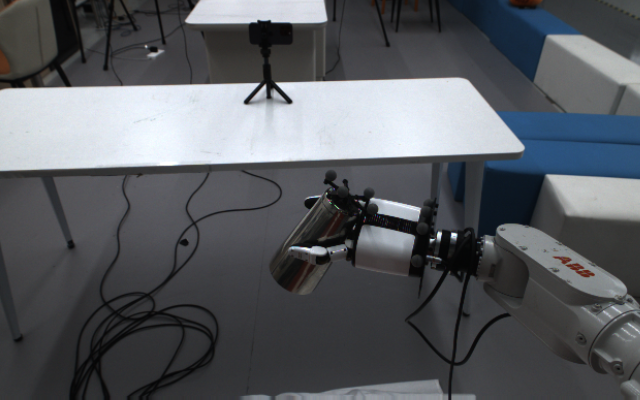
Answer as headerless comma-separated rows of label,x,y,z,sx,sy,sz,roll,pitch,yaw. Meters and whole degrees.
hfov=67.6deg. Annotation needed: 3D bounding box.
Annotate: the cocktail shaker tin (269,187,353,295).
cocktail shaker tin,-0.003,0.058,0.778,0.093,0.170,0.093,26,32,-17
